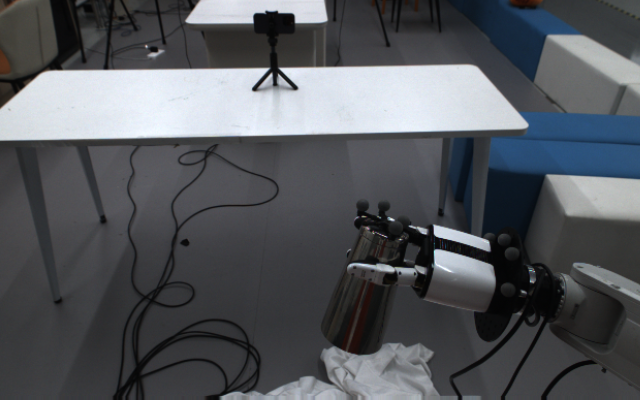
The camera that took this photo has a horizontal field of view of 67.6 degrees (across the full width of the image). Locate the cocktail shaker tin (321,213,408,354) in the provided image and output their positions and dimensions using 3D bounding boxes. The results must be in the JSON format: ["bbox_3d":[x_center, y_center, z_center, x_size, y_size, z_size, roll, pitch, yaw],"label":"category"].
[{"bbox_3d":[0.069,0.113,0.675,0.093,0.170,0.093,14,18,-5],"label":"cocktail shaker tin"}]
